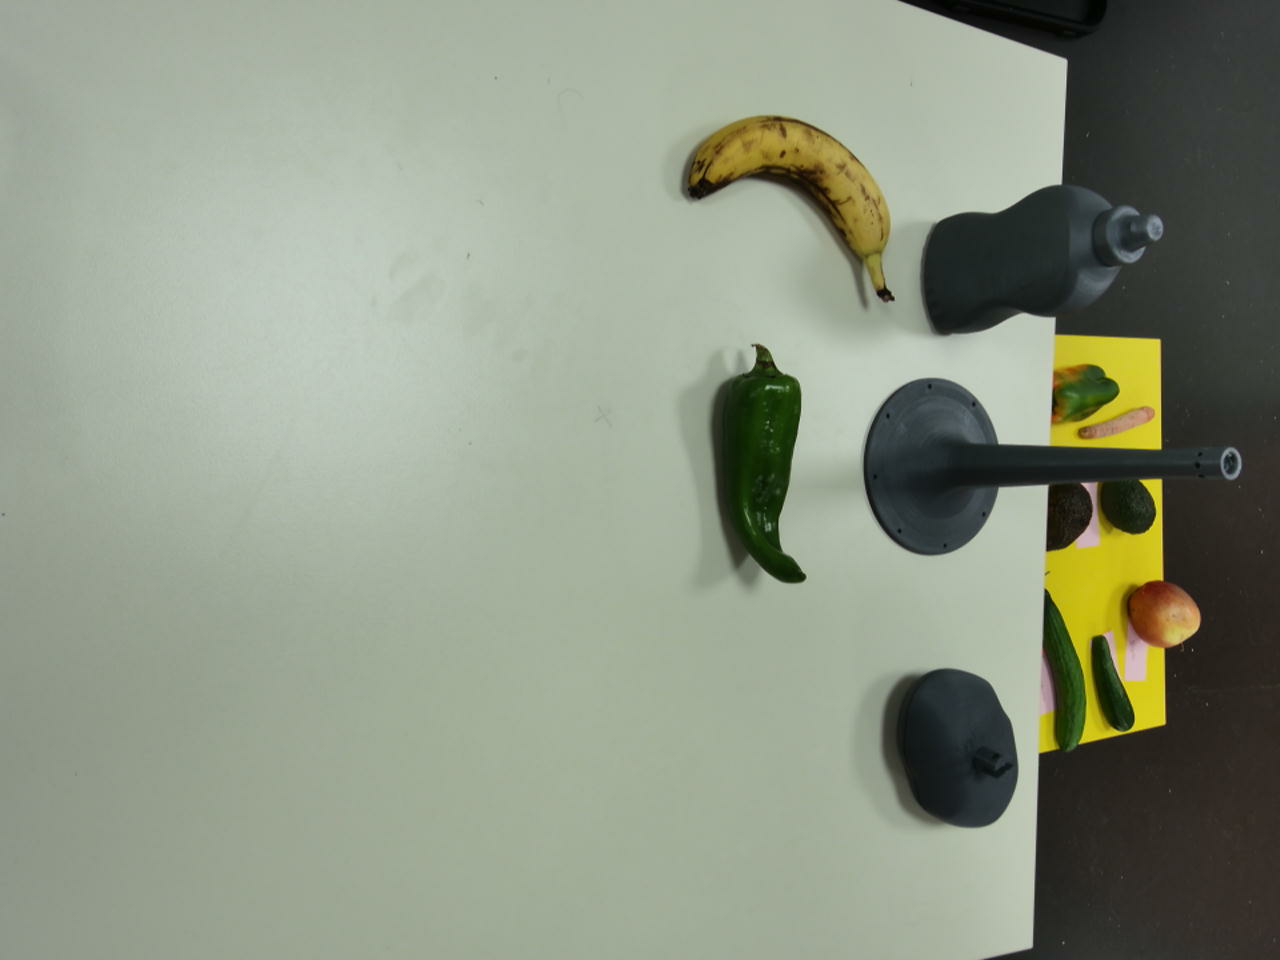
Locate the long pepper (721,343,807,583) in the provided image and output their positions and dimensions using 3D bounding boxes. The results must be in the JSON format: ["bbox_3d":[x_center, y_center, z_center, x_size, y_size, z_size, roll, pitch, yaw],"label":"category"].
[{"bbox_3d":[0.091,-0.013,0.721,0.058,0.065,0.175,1,90,-28],"label":"long pepper"}]
